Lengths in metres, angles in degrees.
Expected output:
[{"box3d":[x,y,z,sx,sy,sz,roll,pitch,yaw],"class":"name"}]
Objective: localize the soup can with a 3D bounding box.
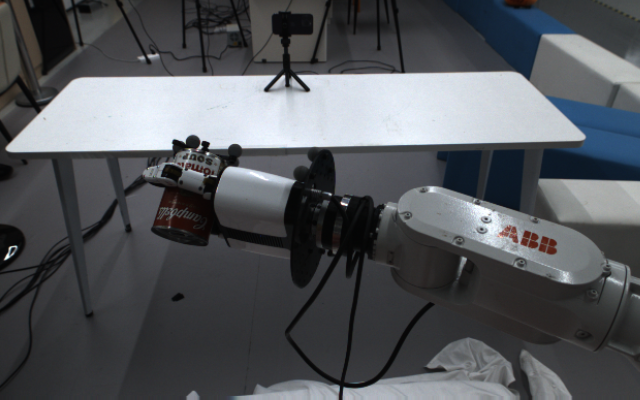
[{"box3d":[-0.154,-0.001,0.582,0.067,0.067,0.101,8,71,9],"class":"soup can"}]
